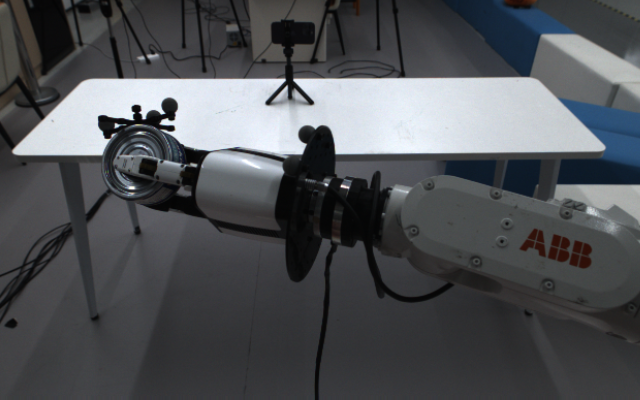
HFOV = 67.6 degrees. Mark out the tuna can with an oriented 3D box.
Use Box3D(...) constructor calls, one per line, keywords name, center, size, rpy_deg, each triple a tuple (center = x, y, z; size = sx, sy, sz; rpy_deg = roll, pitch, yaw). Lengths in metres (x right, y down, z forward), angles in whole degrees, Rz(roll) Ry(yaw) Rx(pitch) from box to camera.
Box3D(name="tuna can", center=(-0.188, -0.033, 0.525), size=(0.085, 0.085, 0.034), rpy_deg=(12, -6, 14))
